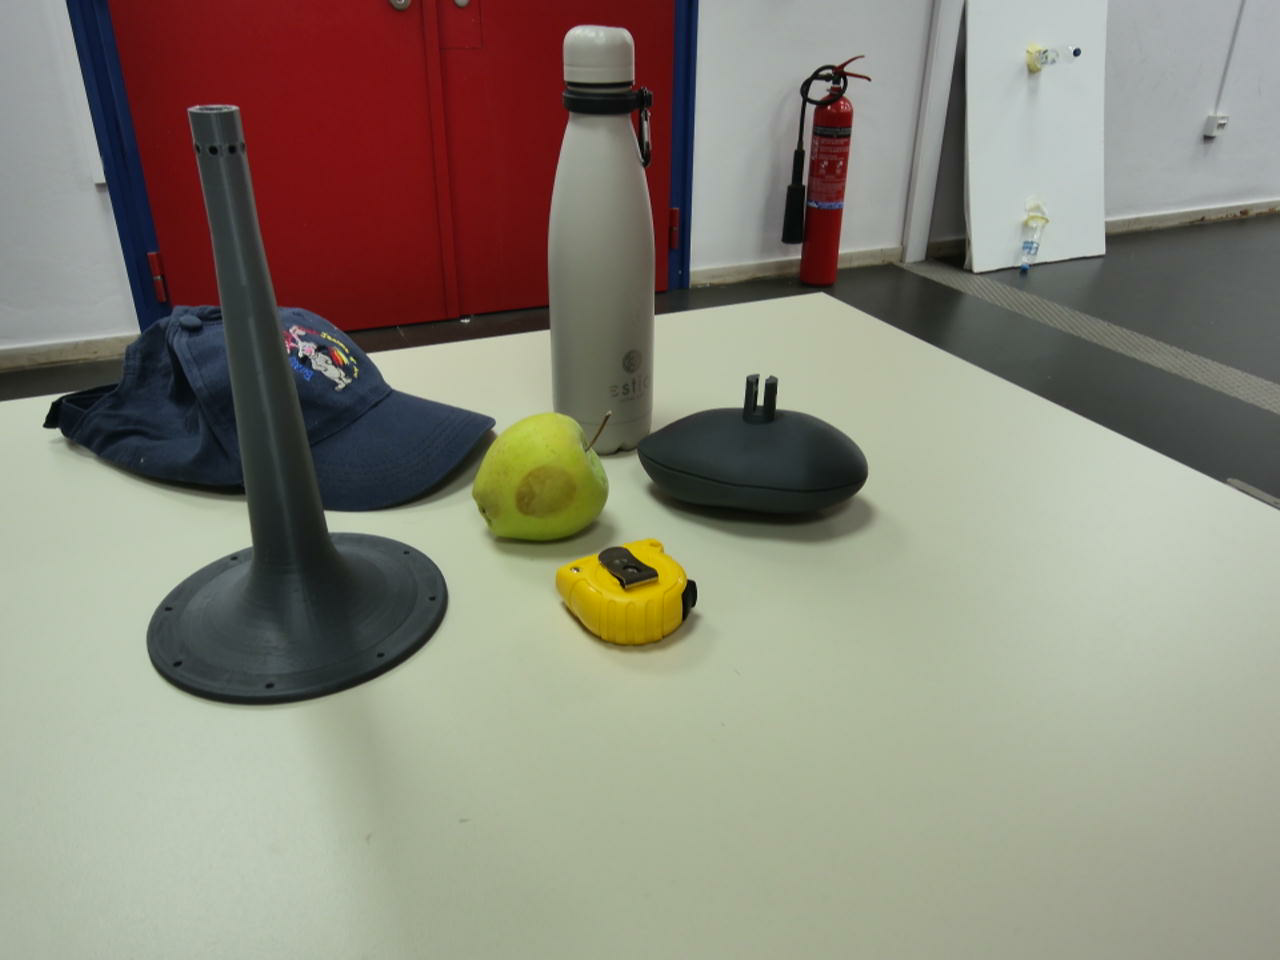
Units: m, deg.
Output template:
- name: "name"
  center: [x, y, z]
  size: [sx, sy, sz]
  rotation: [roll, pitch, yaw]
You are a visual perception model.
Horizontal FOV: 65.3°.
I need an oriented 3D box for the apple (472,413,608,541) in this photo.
- name: "apple"
  center: [-0.057, -0.003, 0.591]
  size: [0.077, 0.075, 0.072]
  rotation: [10, 27, 17]
